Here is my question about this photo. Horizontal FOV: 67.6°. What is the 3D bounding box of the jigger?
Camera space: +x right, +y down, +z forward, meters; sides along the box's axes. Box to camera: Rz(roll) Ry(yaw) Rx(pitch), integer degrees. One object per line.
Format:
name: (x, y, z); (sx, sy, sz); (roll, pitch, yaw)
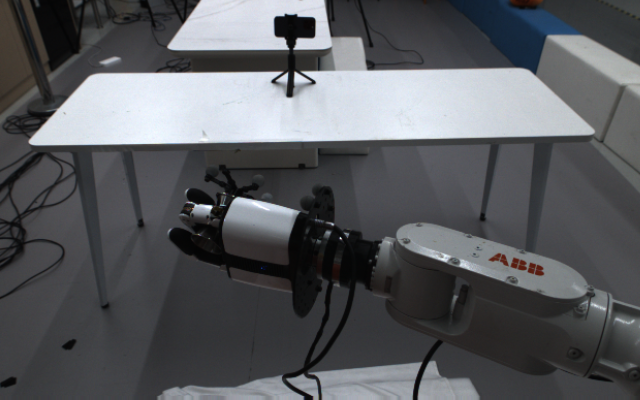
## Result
jigger: (-0.126, 0.029, 0.614); (0.043, 0.043, 0.071); (13, 58, 15)
